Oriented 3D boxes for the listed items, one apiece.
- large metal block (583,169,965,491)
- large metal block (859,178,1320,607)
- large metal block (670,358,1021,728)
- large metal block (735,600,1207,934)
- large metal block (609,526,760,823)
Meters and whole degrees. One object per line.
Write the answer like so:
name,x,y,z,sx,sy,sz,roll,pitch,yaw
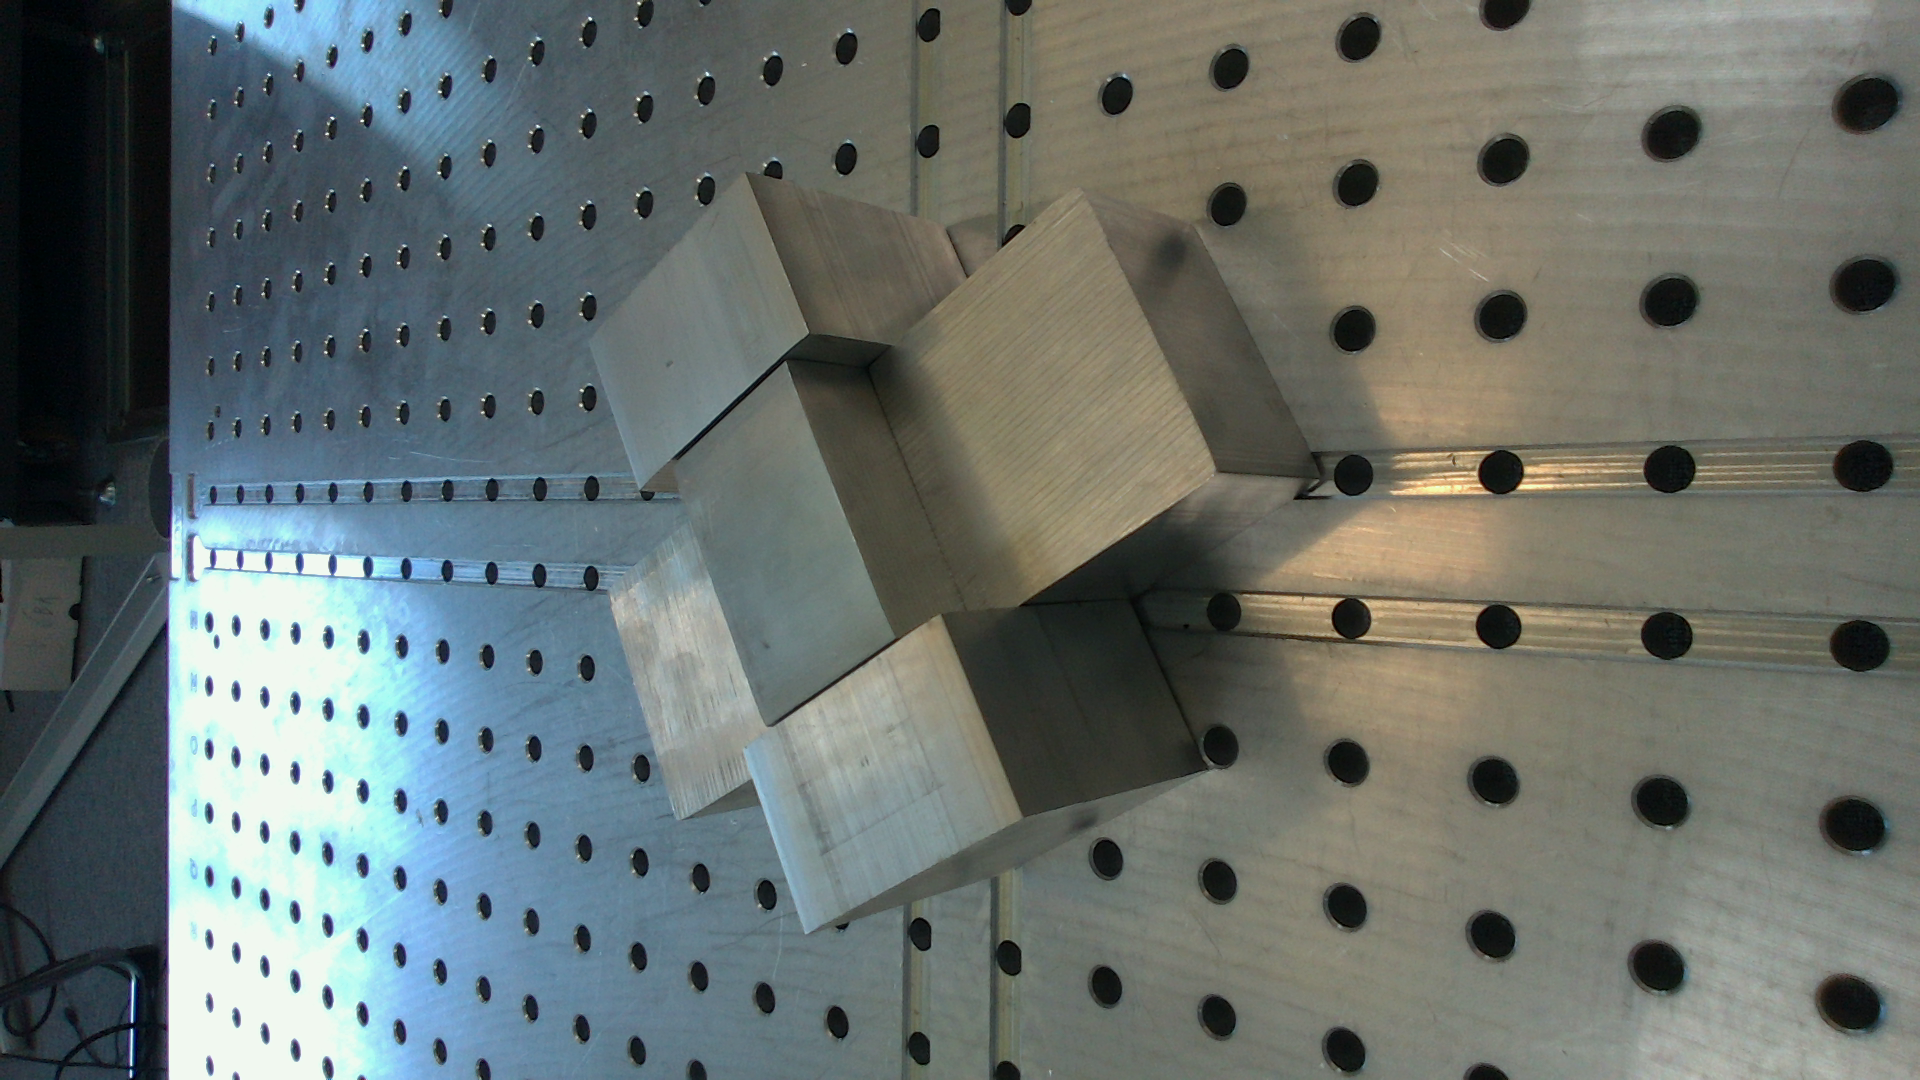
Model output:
large metal block,-0.048,-0.055,0.402,0.080,0.080,0.050,-35,68,35
large metal block,0.031,-0.032,0.355,0.080,0.050,0.080,-36,70,34
large metal block,-0.022,0.001,0.380,0.050,0.080,0.080,-36,68,34
large metal block,0.003,0.057,0.359,0.080,0.080,0.050,-35,68,34
large metal block,-0.057,0.033,0.431,0.080,0.050,0.080,-33,69,35
